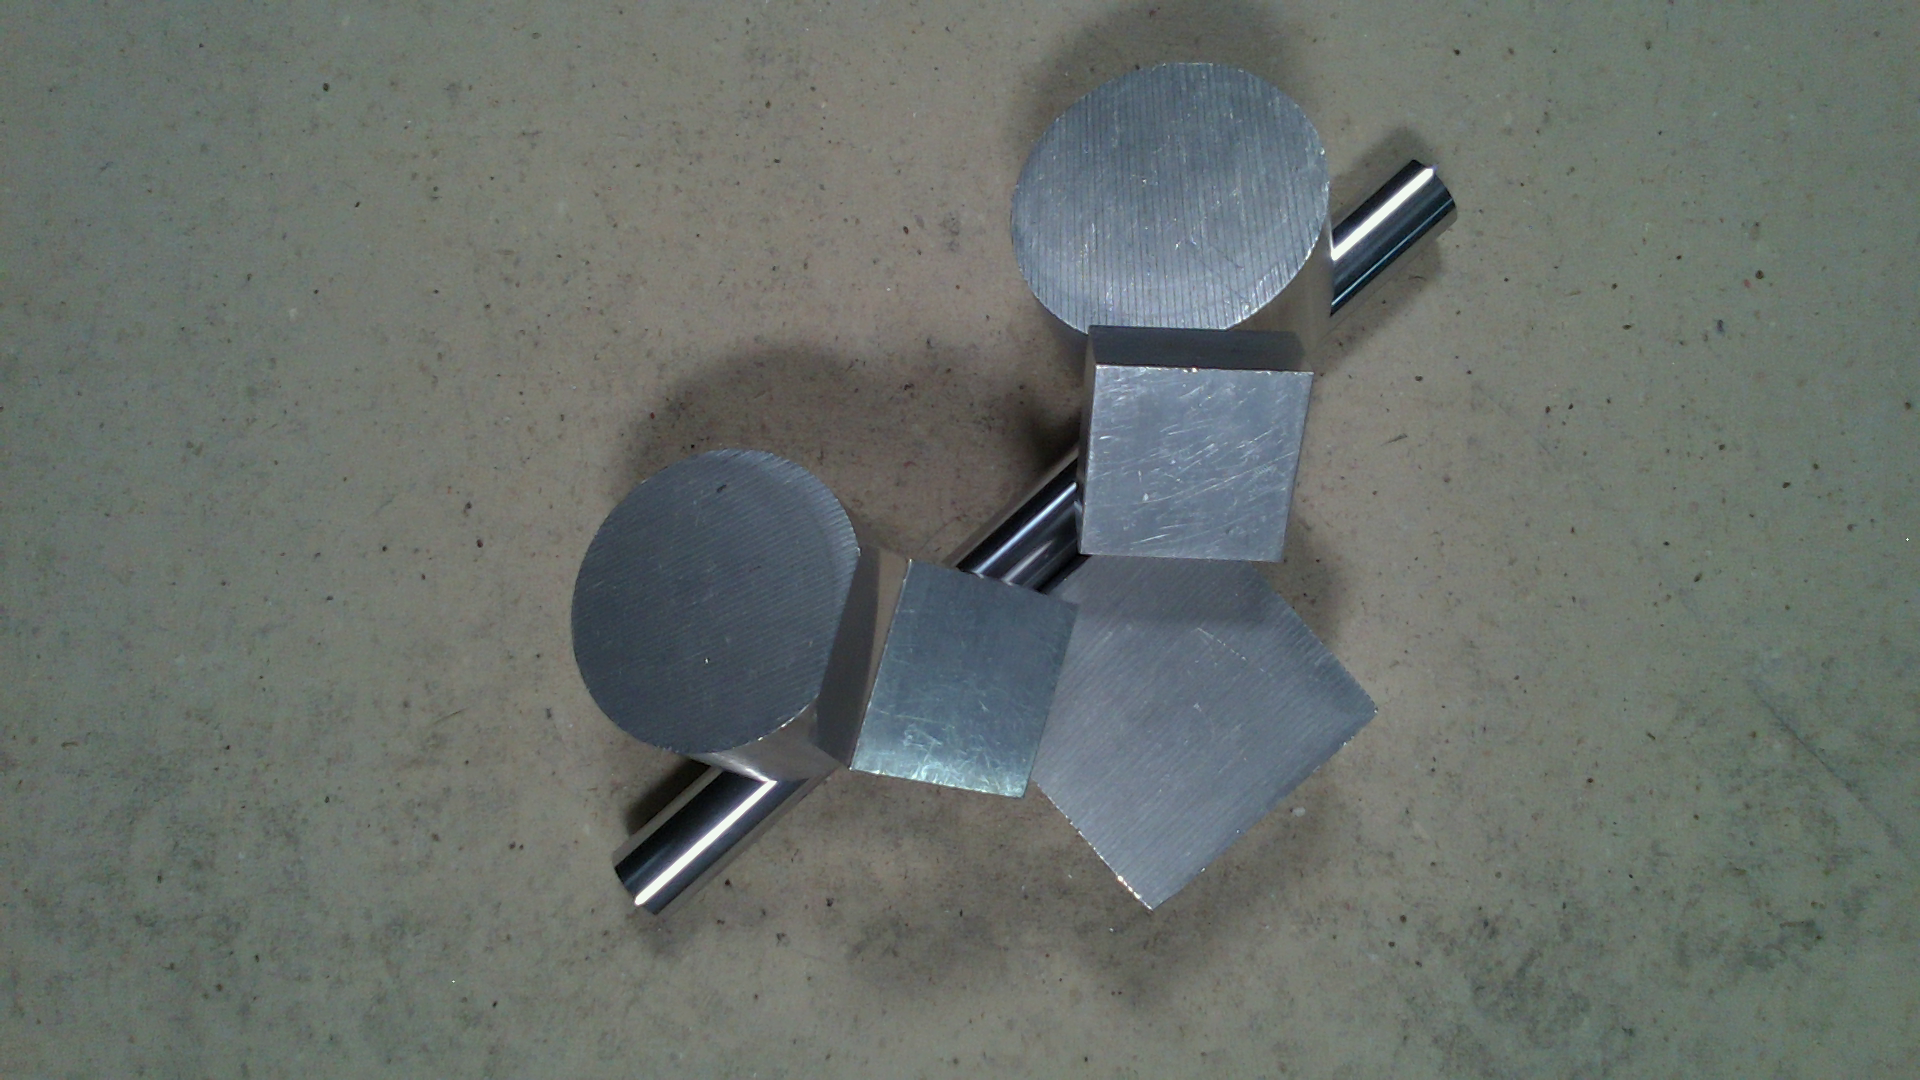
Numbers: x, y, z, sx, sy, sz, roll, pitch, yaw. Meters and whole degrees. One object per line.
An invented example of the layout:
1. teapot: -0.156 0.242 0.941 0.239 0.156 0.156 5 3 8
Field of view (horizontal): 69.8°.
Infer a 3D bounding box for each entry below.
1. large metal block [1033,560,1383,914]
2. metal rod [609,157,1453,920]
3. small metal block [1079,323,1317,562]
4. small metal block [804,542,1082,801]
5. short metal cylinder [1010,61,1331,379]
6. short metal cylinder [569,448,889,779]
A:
1. large metal block: 0.053 0.041 0.382 0.080 0.050 0.080 -41 90 0
2. metal rod: 0.020 0.000 0.395 0.300 0.025 0.025 -42 90 0
3. small metal block: 0.055 -0.023 0.333 0.050 0.025 0.050 2 121 0
4. small metal block: -0.004 0.032 0.334 0.050 0.025 0.050 16 91 -32
5. short metal cylinder: 0.058 -0.078 0.368 0.080 0.050 0.080 -5 71 15
6. short metal cylinder: -0.056 0.022 0.369 0.080 0.050 0.080 -5 71 15
